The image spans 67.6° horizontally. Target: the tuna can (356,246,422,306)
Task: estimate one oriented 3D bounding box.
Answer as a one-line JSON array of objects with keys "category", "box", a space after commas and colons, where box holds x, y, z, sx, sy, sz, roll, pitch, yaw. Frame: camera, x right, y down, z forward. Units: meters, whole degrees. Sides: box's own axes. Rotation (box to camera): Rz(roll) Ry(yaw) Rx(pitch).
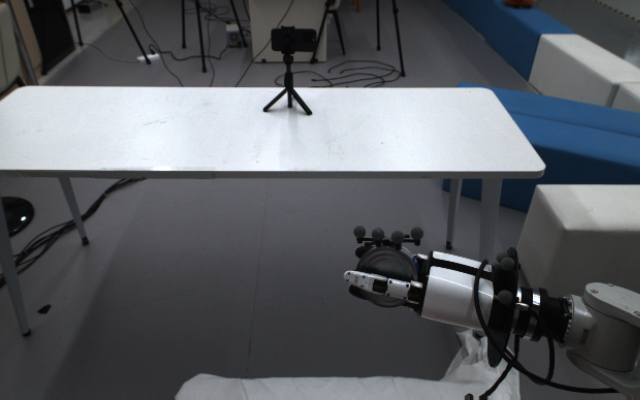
[{"category": "tuna can", "box": [0.096, 0.102, 0.671, 0.085, 0.085, 0.034, 15, 10, 18]}]
